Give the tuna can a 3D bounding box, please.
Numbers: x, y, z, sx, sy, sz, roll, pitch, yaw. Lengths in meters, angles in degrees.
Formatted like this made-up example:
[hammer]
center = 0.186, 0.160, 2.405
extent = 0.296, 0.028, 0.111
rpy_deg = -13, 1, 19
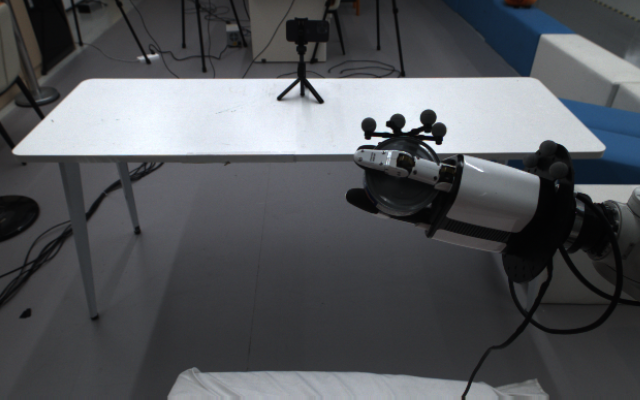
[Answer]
[tuna can]
center = 0.093, -0.027, 0.542
extent = 0.085, 0.034, 0.085
rpy_deg = 0, 77, 0
